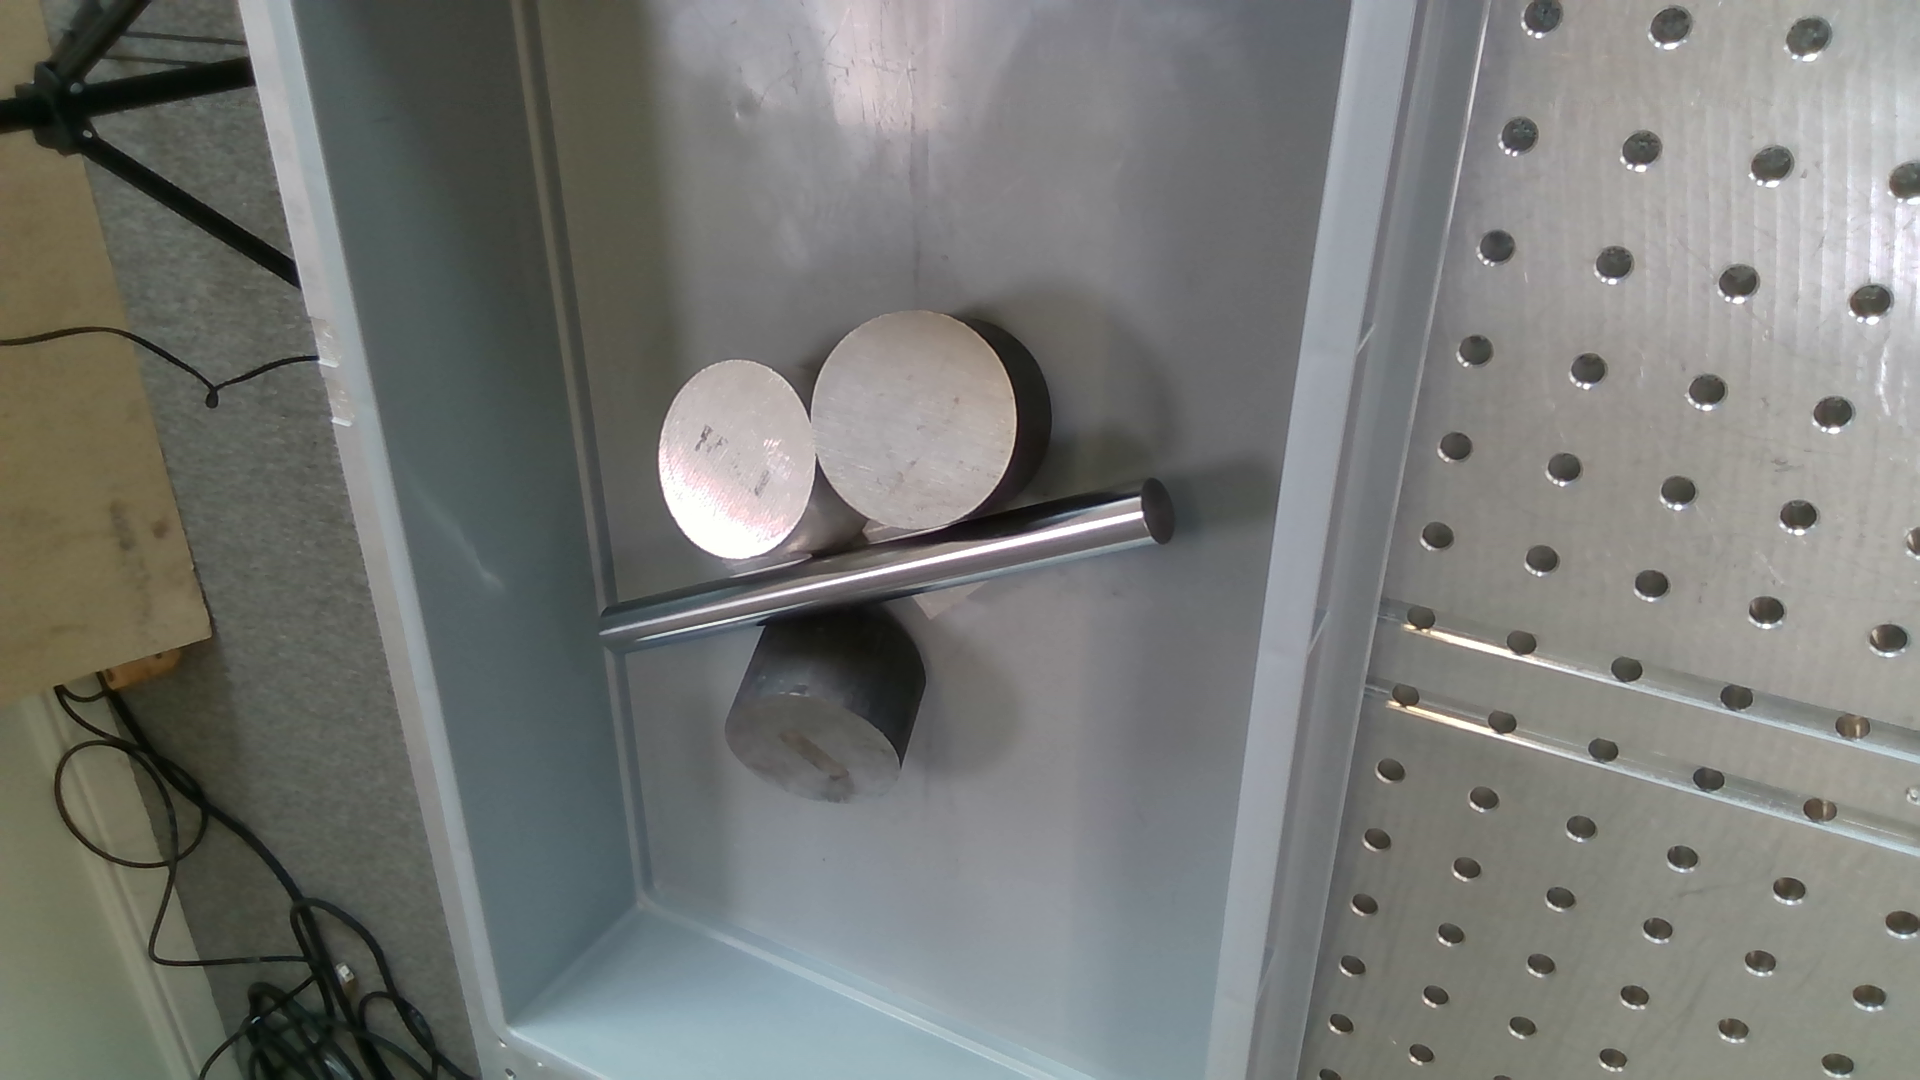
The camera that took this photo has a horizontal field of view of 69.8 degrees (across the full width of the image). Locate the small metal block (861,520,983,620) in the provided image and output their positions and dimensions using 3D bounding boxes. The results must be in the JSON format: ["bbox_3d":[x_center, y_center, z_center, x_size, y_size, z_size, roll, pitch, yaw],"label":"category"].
[{"bbox_3d":[-0.007,-0.002,0.582,0.050,0.025,0.050,-34,95,39],"label":"small metal block"}]

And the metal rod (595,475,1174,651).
[{"bbox_3d":[-0.048,0.016,0.584,0.300,0.025,0.025,-13,108,35],"label":"metal rod"}]

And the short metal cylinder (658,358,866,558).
[{"bbox_3d":[-0.079,-0.034,0.575,0.080,0.050,0.080,1,93,30],"label":"short metal cylinder"}]

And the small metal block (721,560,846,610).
[{"bbox_3d":[-0.074,0.014,0.632,0.050,0.025,0.050,-31,97,39],"label":"small metal block"}]

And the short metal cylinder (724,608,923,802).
[{"bbox_3d":[-0.060,0.075,0.624,0.080,0.050,0.080,9,138,8],"label":"short metal cylinder"}]

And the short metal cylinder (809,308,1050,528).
[{"bbox_3d":[-0.011,-0.047,0.526,0.080,0.050,0.080,2,97,18],"label":"short metal cylinder"}]
